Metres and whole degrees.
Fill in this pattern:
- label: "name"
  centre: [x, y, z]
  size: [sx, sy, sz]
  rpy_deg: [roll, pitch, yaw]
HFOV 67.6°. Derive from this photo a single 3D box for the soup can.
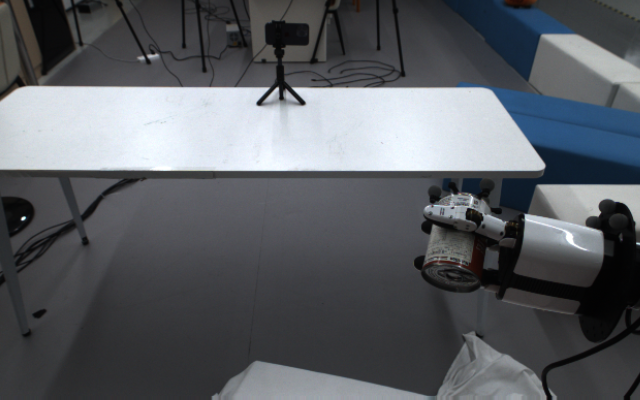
- label: "soup can"
  centre: [0.165, 0.047, 0.581]
  size: [0.067, 0.067, 0.101]
  rpy_deg: [12, 59, 14]
